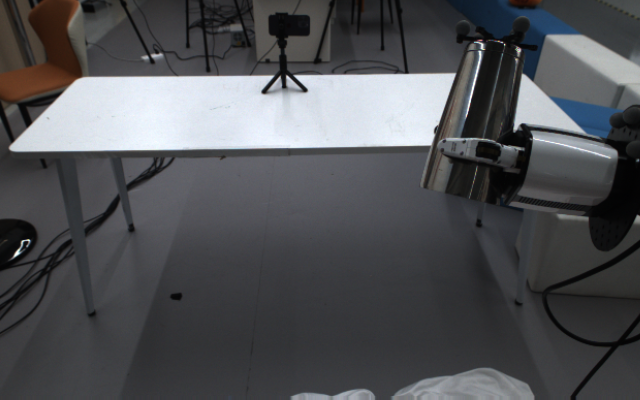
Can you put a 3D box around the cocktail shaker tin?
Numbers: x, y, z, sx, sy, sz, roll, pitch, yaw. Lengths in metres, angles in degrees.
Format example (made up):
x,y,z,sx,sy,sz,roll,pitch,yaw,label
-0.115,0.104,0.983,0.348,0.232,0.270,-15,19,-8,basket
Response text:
x,y,z,sx,sy,sz,roll,pitch,yaw,label
0.180,-0.087,0.555,0.093,0.170,0.093,13,4,-1,cocktail shaker tin
